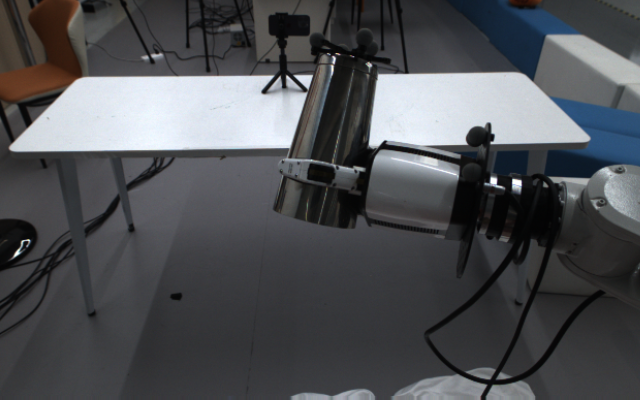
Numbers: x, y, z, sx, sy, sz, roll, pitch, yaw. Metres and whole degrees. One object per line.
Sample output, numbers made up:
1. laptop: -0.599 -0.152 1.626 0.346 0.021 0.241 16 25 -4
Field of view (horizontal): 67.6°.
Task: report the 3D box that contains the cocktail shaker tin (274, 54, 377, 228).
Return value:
1. cocktail shaker tin: 0.013 -0.062 0.522 0.093 0.170 0.093 13 4 -1
